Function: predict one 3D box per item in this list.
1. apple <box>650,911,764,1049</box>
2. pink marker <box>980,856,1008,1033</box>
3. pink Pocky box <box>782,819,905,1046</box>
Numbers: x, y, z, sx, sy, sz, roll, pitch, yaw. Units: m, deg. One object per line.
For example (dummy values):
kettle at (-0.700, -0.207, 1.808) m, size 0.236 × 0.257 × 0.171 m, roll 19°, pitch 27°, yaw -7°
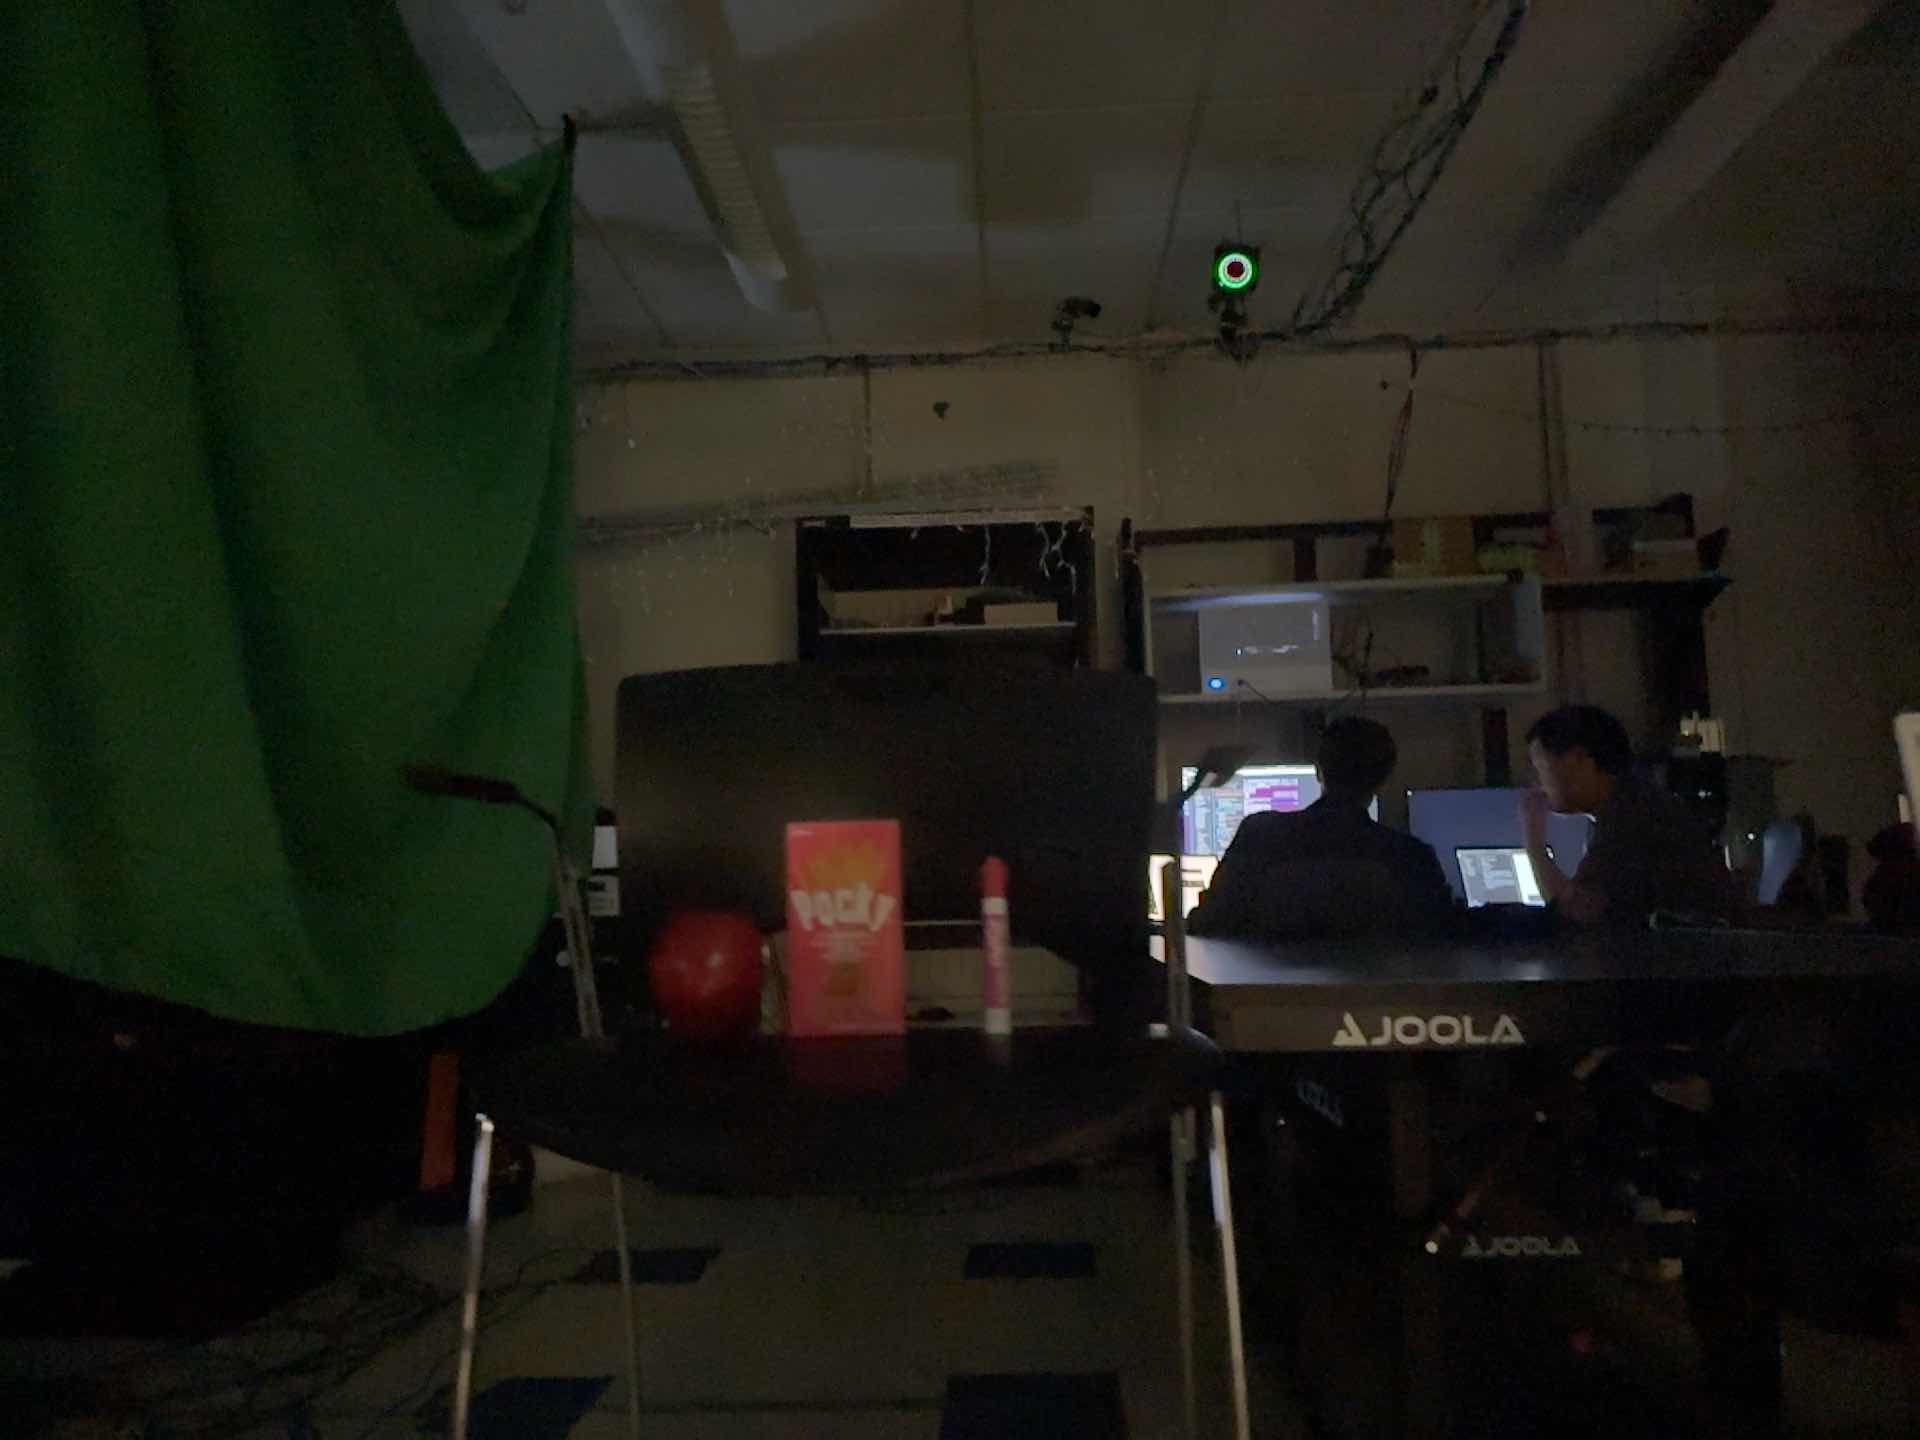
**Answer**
apple at (-0.174, 0.179, 0.933) m, size 0.079 × 0.093 × 0.079 m, roll -1°, pitch -10°, yaw 0°
pink marker at (0.023, 0.155, 0.937) m, size 0.020 × 0.121 × 0.020 m, roll 0°, pitch -6°, yaw 0°
pink Pocky box at (-0.082, 0.147, 0.941) m, size 0.084 × 0.155 × 0.029 m, roll -1°, pitch -4°, yaw 1°
